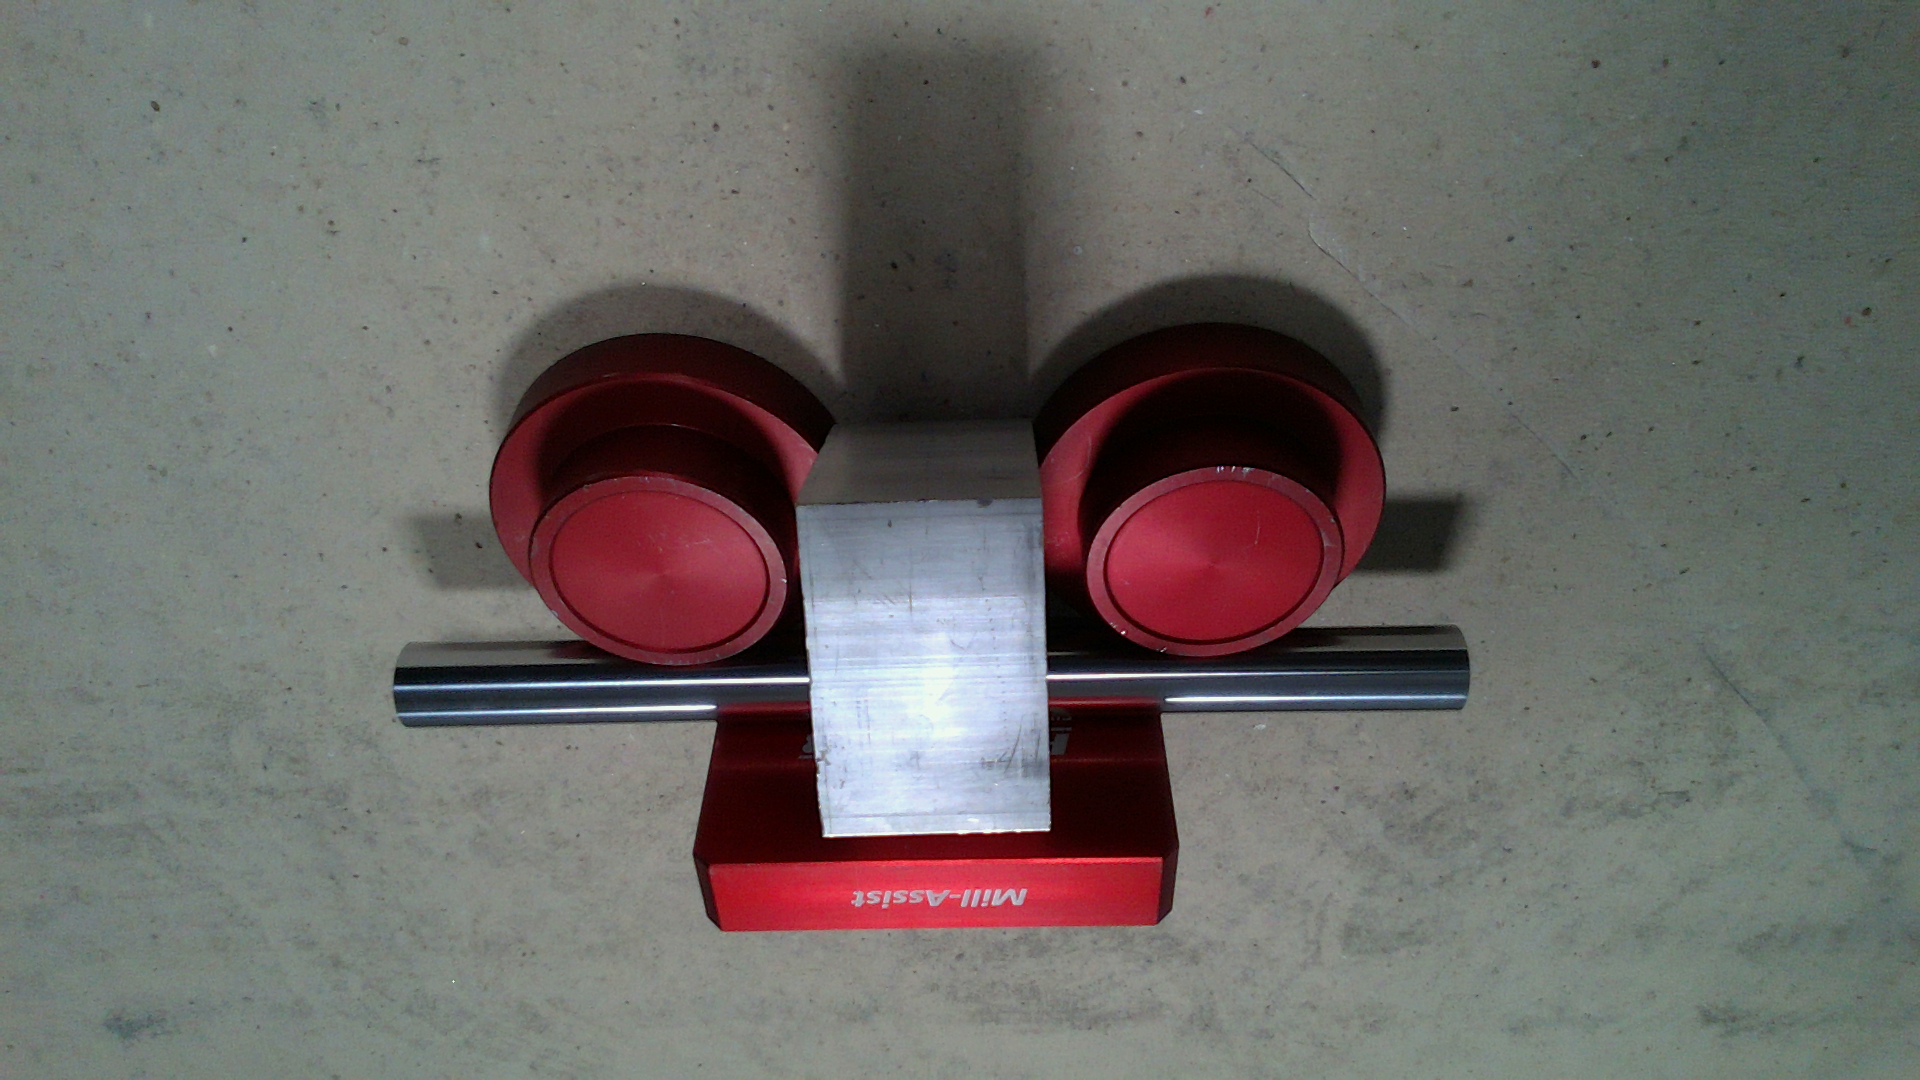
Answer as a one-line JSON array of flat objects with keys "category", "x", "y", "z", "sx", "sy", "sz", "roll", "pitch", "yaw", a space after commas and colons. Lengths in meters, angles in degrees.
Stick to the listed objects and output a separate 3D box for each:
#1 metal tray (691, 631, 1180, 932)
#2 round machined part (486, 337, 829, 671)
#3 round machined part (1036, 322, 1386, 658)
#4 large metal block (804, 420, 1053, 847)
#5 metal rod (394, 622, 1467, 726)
[{"category": "metal tray", "x": -0.006, "y": 0.068, "z": 0.405, "sx": 0.130, "sy": 0.090, "sz": 0.030, "roll": -1, "pitch": 130, "yaw": 1}, {"category": "round machined part", "x": -0.079, "y": -0.003, "z": 0.375, "sx": 0.098, "sy": 0.042, "sz": 0.098, "roll": 0, "pitch": 130, "yaw": 0}, {"category": "round machined part", "x": 0.066, "y": -0.006, "z": 0.373, "sx": 0.098, "sy": 0.042, "sz": 0.098, "roll": 0, "pitch": 130, "yaw": 0}, {"category": "large metal block", "x": -0.005, "y": 0.018, "z": 0.335, "sx": 0.050, "sy": 0.080, "sz": 0.080, "roll": -2, "pitch": 107, "yaw": 1}, {"category": "metal rod", "x": -0.009, "y": 0.039, "z": 0.397, "sx": 0.300, "sy": 0.025, "sz": 0.025, "roll": -1, "pitch": 130, "yaw": 1}]
